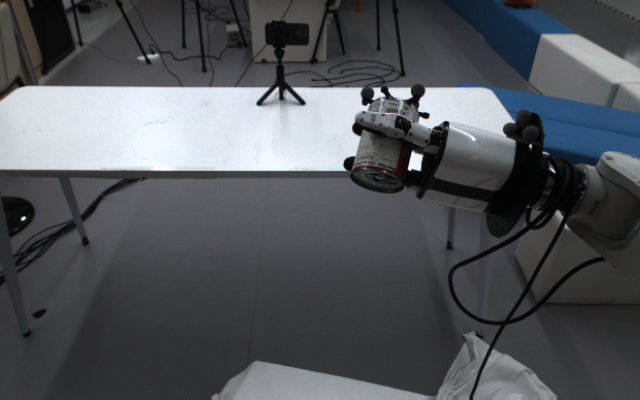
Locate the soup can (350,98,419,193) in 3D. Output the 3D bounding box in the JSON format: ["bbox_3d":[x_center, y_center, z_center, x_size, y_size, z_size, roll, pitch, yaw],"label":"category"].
[{"bbox_3d":[0.084,-0.069,0.606,0.067,0.067,0.101,11,71,13],"label":"soup can"}]
